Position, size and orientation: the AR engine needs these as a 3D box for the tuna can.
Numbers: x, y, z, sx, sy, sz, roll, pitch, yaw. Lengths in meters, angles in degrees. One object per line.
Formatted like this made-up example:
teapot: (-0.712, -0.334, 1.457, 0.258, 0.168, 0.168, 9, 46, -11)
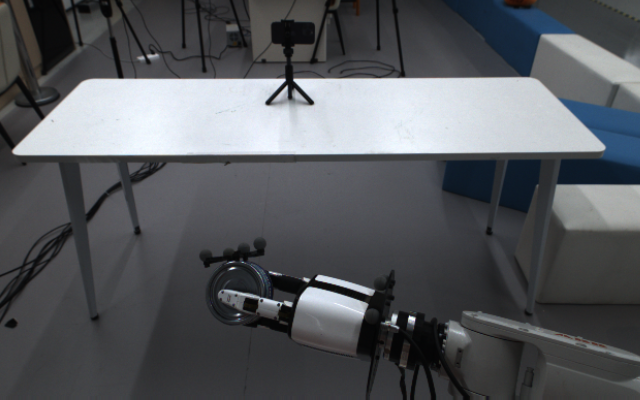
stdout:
tuna can: (-0.104, 0.129, 0.642, 0.085, 0.085, 0.034, 12, -6, 14)
